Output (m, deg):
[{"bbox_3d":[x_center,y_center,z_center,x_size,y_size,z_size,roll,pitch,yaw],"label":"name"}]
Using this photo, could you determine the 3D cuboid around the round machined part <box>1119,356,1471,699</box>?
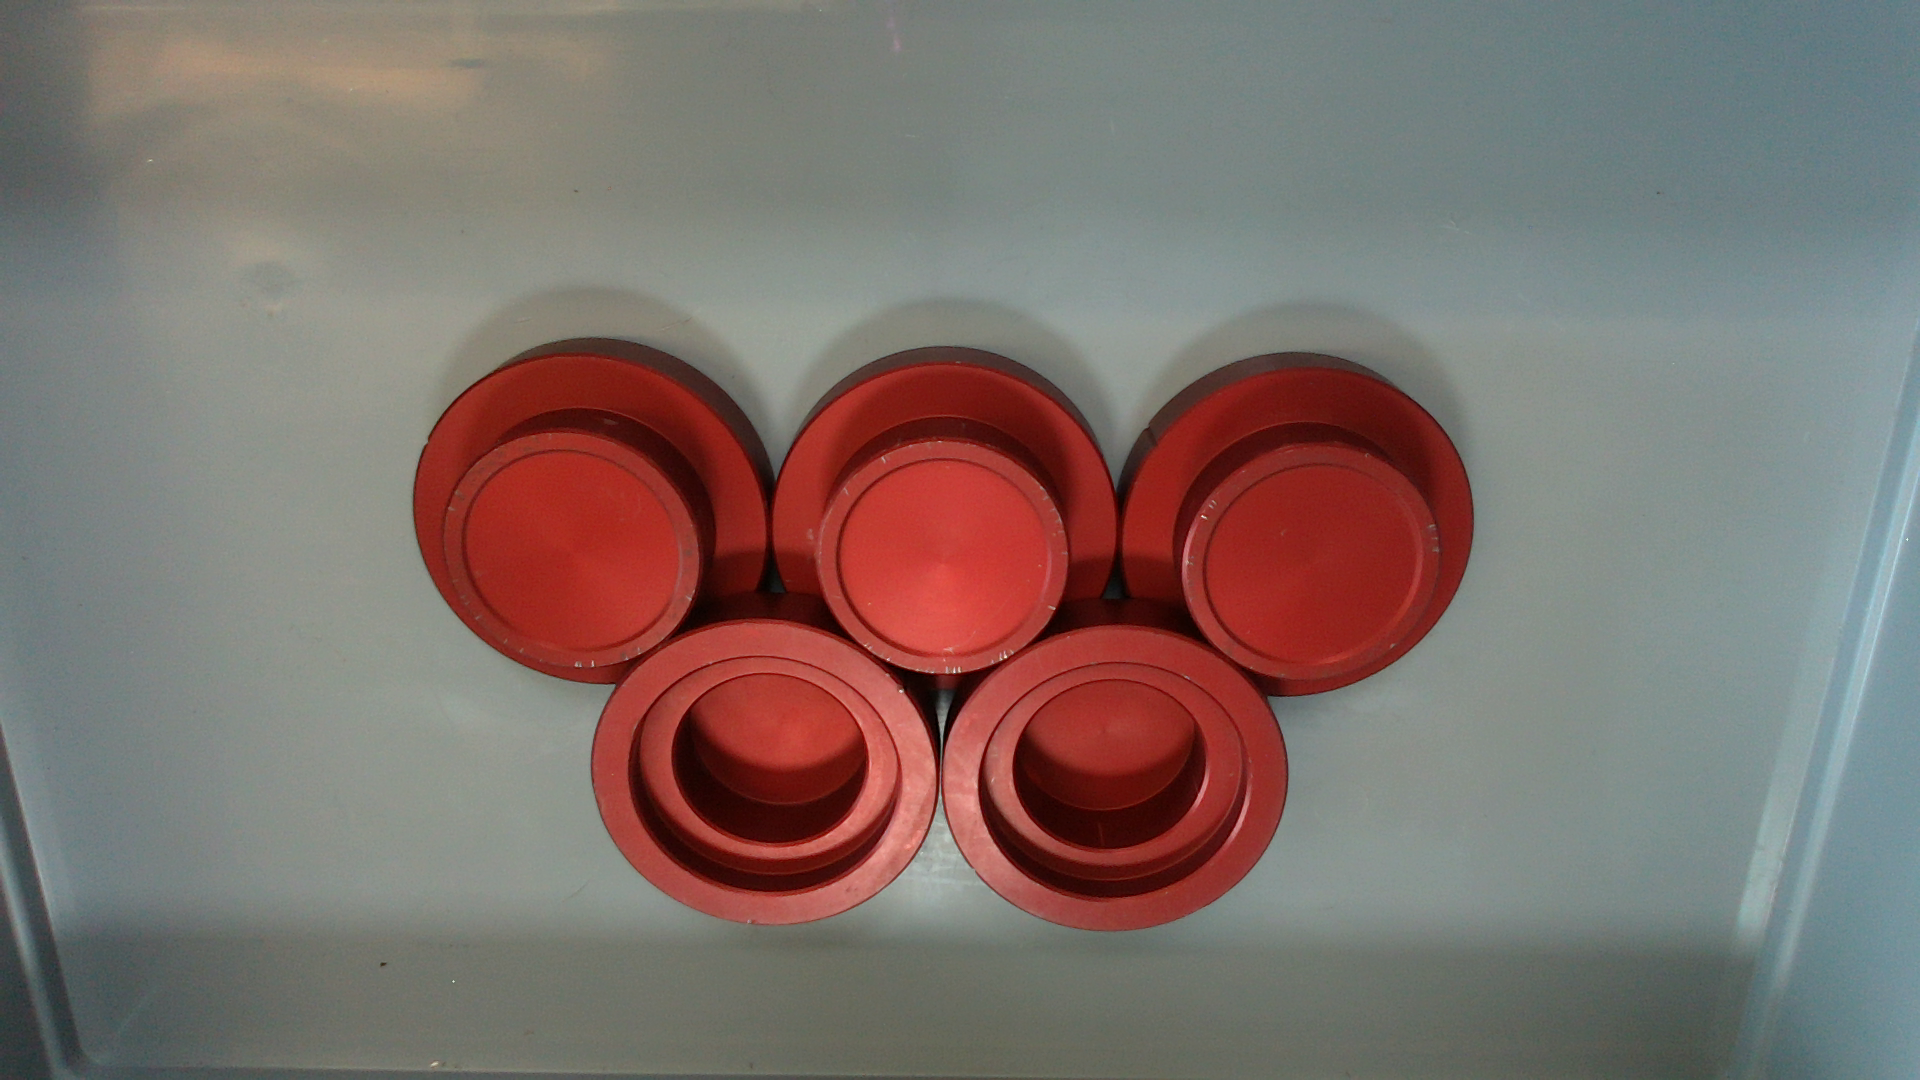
[{"bbox_3d":[0.093,0.000,0.383,0.098,0.042,0.098,0,109,0],"label":"round machined part"}]

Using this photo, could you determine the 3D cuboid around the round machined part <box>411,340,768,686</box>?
[{"bbox_3d":[-0.103,-0.004,0.380,0.098,0.042,0.098,0,109,-1],"label":"round machined part"}]

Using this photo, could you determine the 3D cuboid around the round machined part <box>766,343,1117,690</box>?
[{"bbox_3d":[-0.005,-0.002,0.382,0.098,0.042,0.098,0,109,0],"label":"round machined part"}]

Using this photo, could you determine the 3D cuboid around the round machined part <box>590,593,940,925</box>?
[{"bbox_3d":[-0.055,0.060,0.405,0.098,0.042,0.098,0,110,0],"label":"round machined part"}]

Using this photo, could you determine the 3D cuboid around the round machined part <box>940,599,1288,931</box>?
[{"bbox_3d":[0.043,0.062,0.407,0.098,0.042,0.098,0,110,0],"label":"round machined part"}]
